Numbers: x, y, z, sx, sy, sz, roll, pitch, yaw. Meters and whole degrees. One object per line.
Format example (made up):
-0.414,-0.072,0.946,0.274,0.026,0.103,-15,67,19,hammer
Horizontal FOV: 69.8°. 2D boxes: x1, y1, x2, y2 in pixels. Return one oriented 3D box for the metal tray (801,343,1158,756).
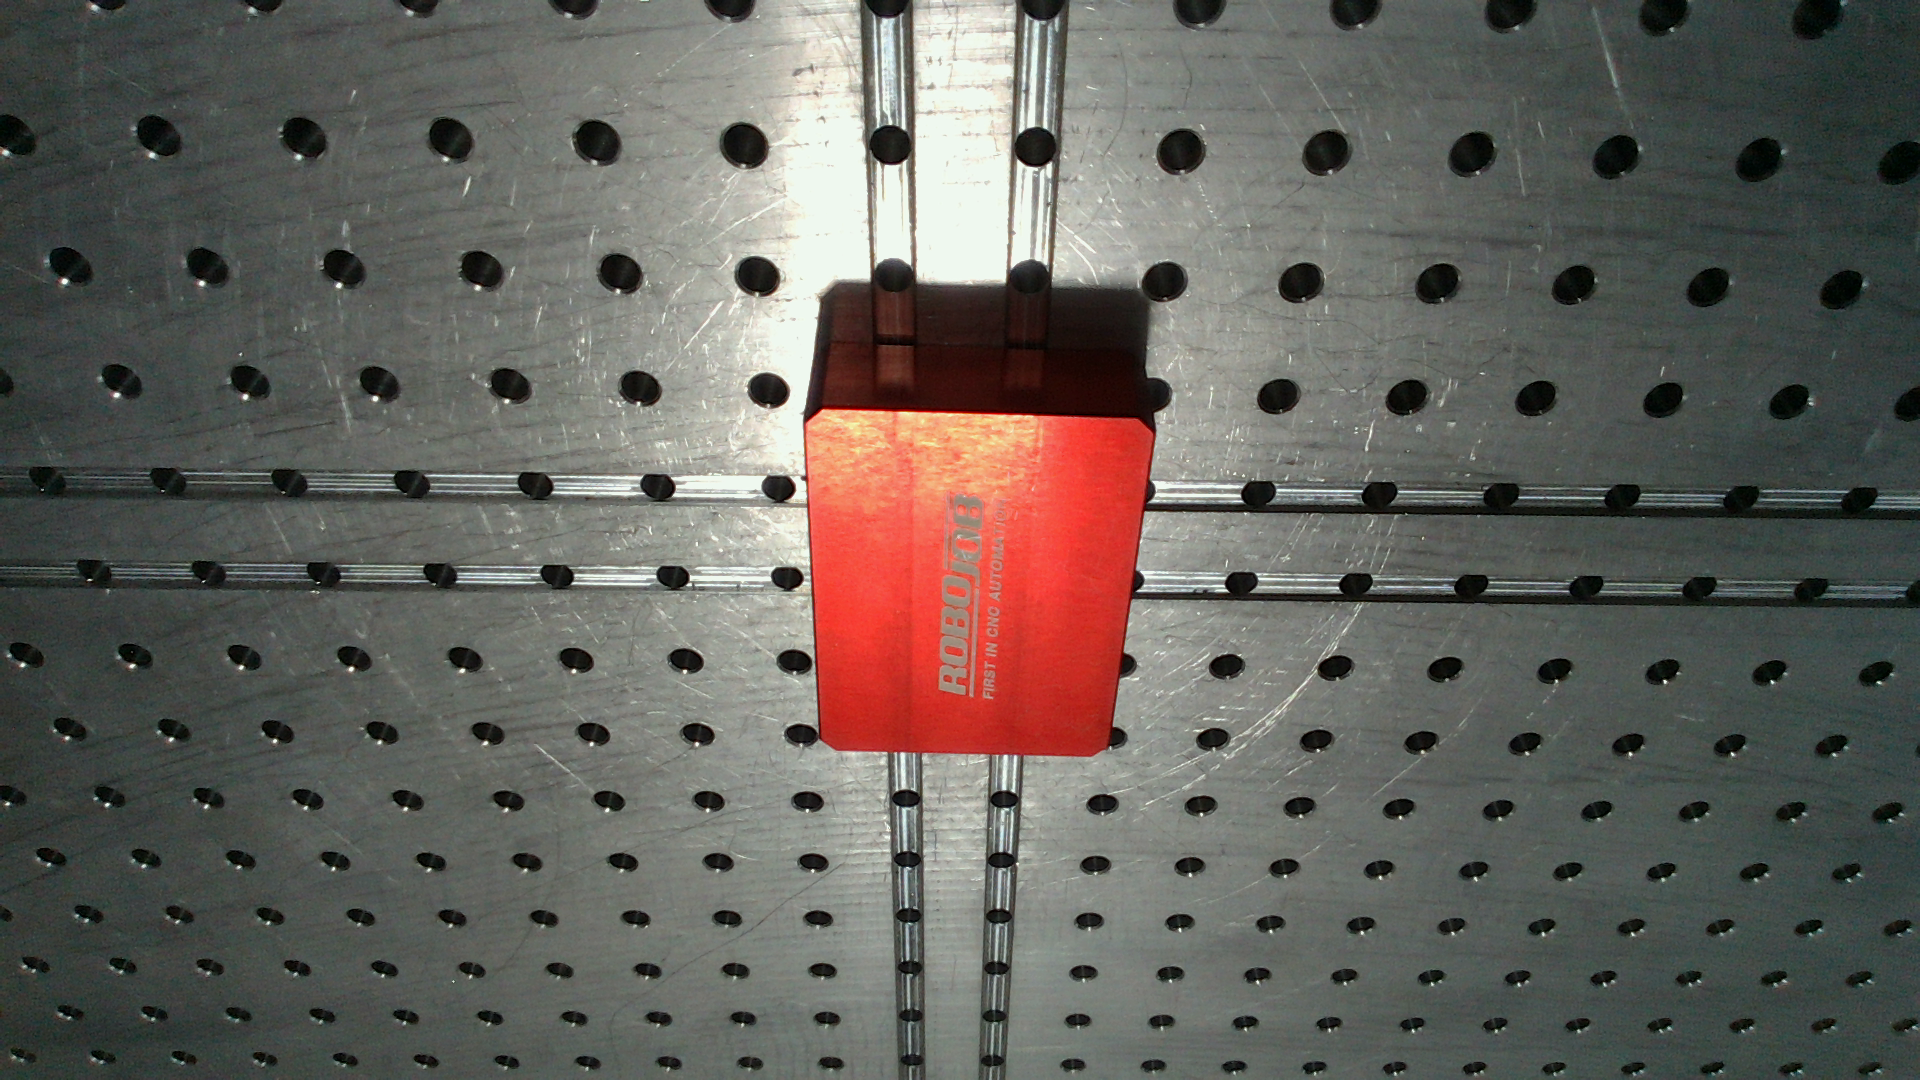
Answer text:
0.003,0.008,0.396,0.090,0.030,0.130,1,130,-1,metal tray
